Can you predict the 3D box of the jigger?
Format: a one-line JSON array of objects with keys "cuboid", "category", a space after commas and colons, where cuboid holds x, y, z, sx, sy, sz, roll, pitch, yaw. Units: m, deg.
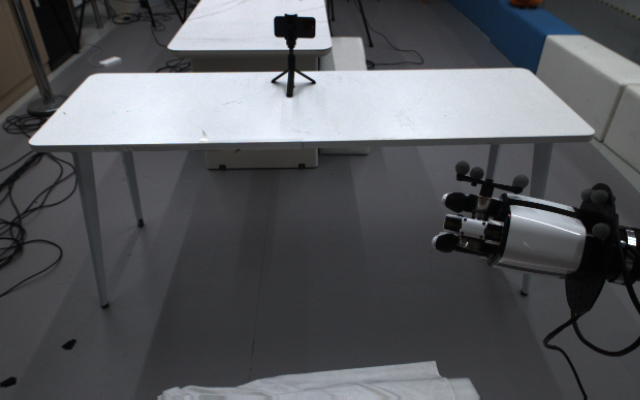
[{"cuboid": [0.203, 0.029, 0.614, 0.043, 0.071, 0.043, 14, 1, 0], "category": "jigger"}]
